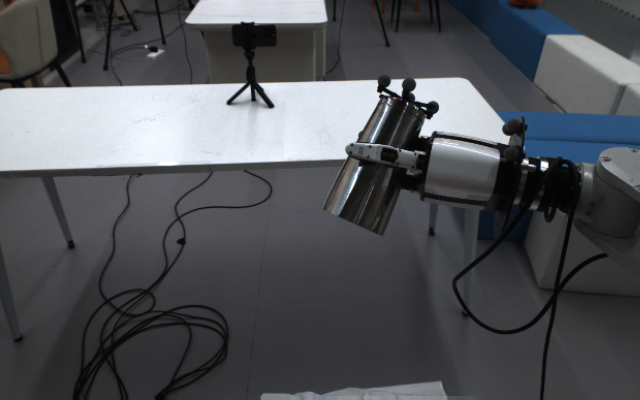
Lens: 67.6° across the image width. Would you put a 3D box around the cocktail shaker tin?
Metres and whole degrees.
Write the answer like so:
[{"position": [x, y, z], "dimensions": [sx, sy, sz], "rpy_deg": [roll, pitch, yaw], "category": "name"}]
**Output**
[{"position": [0.079, -0.050, 0.650], "dimensions": [0.093, 0.170, 0.093], "rpy_deg": [23, 0, 0], "category": "cocktail shaker tin"}]
